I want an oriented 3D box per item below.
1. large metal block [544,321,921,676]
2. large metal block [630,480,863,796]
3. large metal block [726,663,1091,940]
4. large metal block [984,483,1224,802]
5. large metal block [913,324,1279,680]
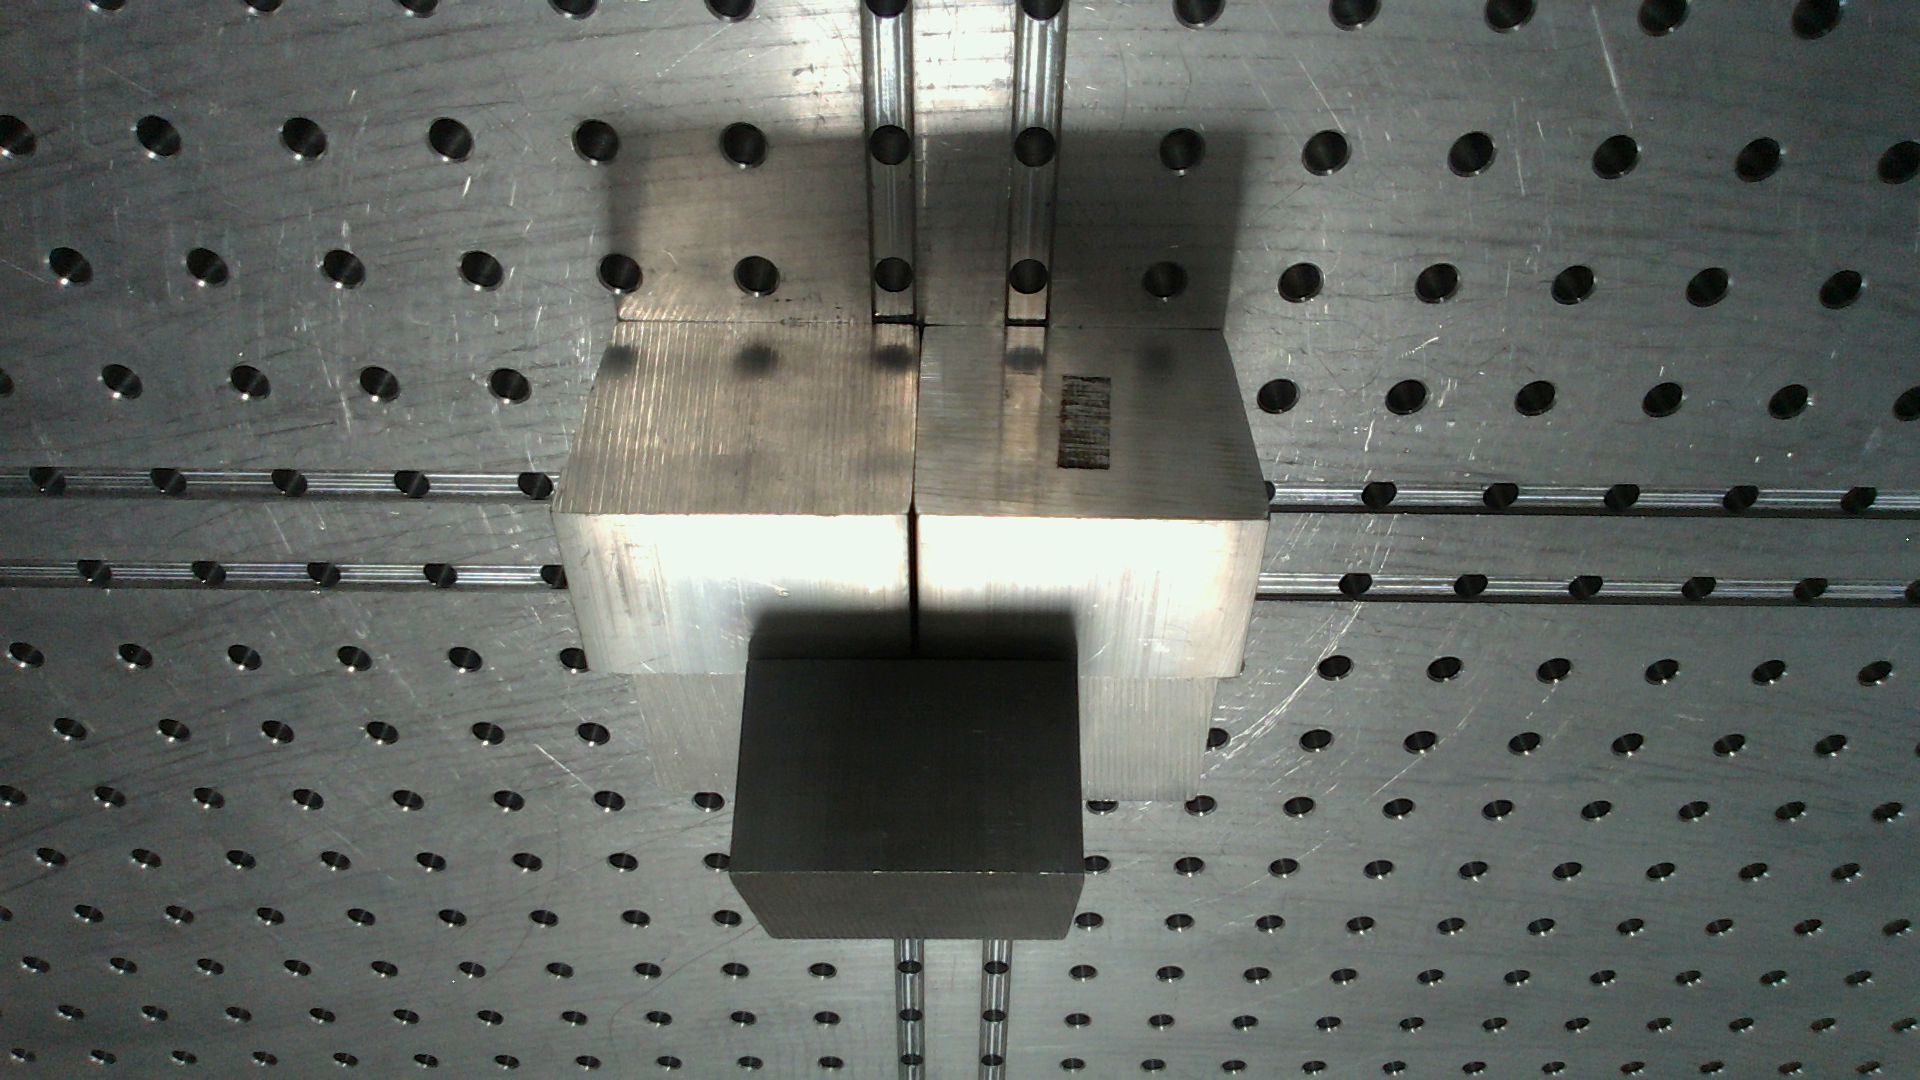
[{"bbox_3d":[-0.051,-0.012,0.346,0.080,0.080,0.050,1,130,-1],"label":"large metal block"},{"bbox_3d":[-0.050,0.029,0.399,0.080,0.050,0.080,0,130,-1],"label":"large metal block"},{"bbox_3d":[-0.011,0.069,0.348,0.080,0.050,0.080,0,154,0],"label":"large metal block"},{"bbox_3d":[0.031,0.030,0.400,0.080,0.050,0.080,0,130,-1],"label":"large metal block"},{"bbox_3d":[0.030,-0.011,0.347,0.080,0.080,0.050,1,130,-1],"label":"large metal block"}]
